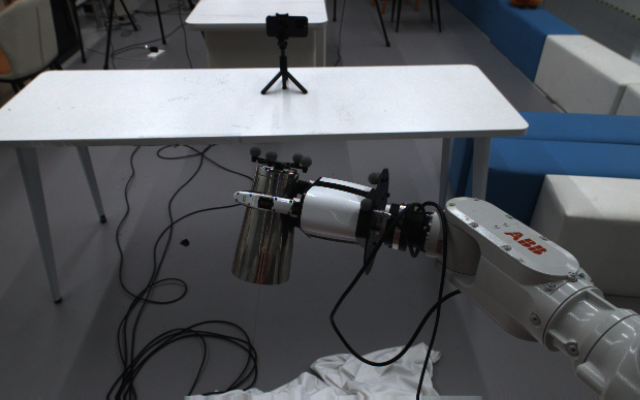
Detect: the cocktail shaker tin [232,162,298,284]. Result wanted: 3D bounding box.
[{"bbox_3d":[-0.076,0.033,0.750,0.093,0.170,0.093,10,9,-2],"label":"cocktail shaker tin"}]
